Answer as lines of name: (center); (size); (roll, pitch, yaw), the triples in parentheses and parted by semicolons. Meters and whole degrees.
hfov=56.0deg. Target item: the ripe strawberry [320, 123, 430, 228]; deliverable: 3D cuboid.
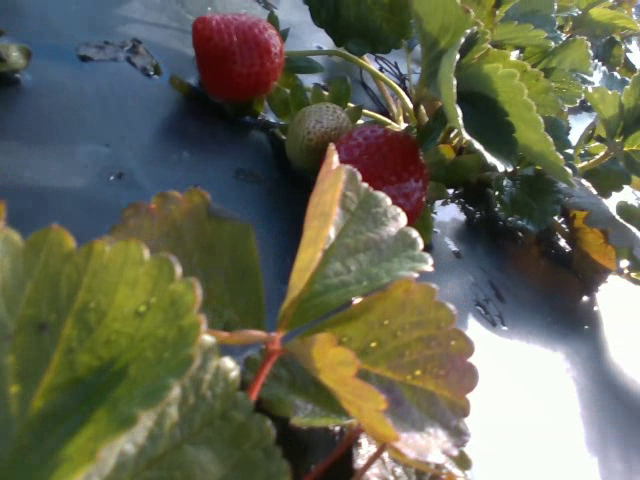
ripe strawberry: (0.017, -0.024, 0.232); (0.048, 0.050, 0.064); (0, 24, 38)
